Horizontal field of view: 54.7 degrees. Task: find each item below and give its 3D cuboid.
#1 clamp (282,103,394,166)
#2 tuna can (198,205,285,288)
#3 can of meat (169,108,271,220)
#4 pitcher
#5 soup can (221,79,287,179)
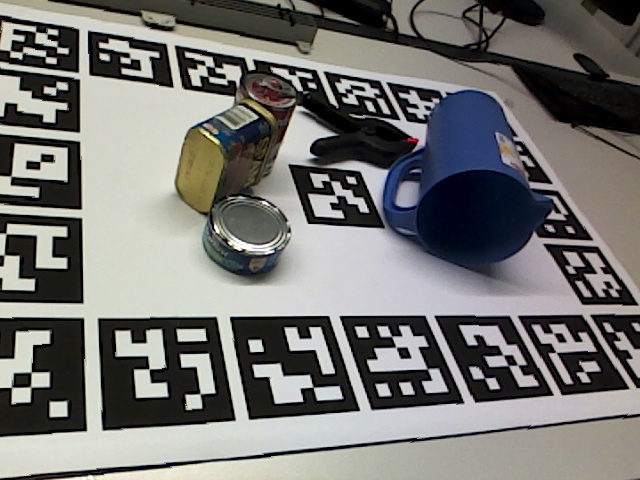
[{"bbox_3d":[0.028,-0.136,0.849,0.164,0.036,0.122,6,42,-26],"label":"clamp"},{"bbox_3d":[-0.082,0.007,0.638,0.085,0.034,0.086,14,45,-15],"label":"tuna can"},{"bbox_3d":[-0.107,-0.079,0.656,0.058,0.102,0.083,41,47,13],"label":"can of meat"},{"bbox_3d":[0.179,-0.090,0.787,0.189,0.133,0.243,2,36,5],"label":"pitcher"},{"bbox_3d":[-0.084,-0.125,0.721,0.067,0.102,0.068,12,46,-13],"label":"soup can"}]
